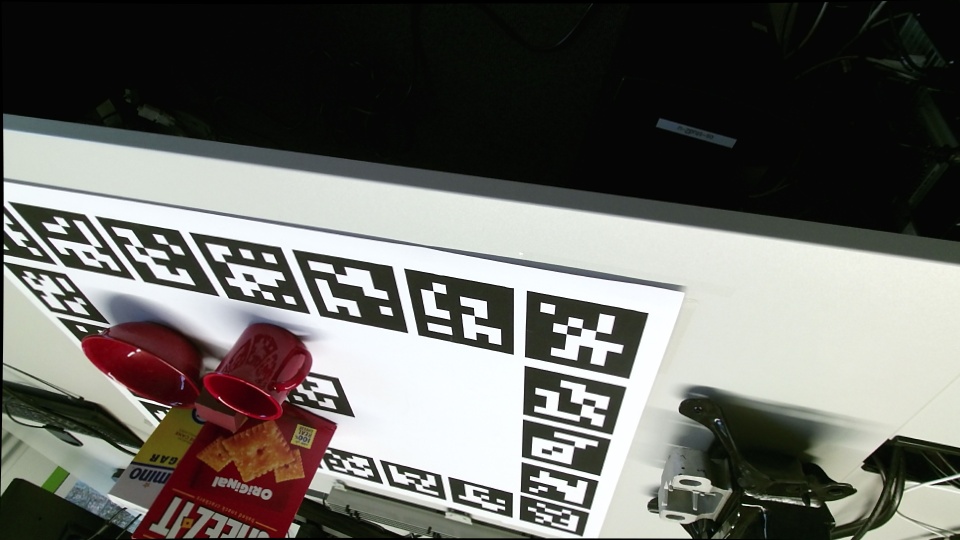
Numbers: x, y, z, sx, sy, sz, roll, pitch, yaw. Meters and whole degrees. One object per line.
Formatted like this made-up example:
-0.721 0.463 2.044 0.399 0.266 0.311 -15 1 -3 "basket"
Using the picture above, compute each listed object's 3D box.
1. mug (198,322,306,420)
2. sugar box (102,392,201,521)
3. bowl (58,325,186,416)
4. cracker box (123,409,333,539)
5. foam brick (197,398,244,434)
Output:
-0.249 0.113 0.602 0.117 0.081 0.093 1 142 17 "mug"
-0.425 0.263 0.755 0.093 0.176 0.045 23 137 -4 "sugar box"
-0.444 0.121 0.692 0.162 0.055 0.162 10 135 10 "bowl"
-0.322 0.282 0.711 0.165 0.213 0.072 30 138 -9 "cracker box"
-0.323 0.159 0.691 0.053 0.078 0.051 19 138 0 "foam brick"
